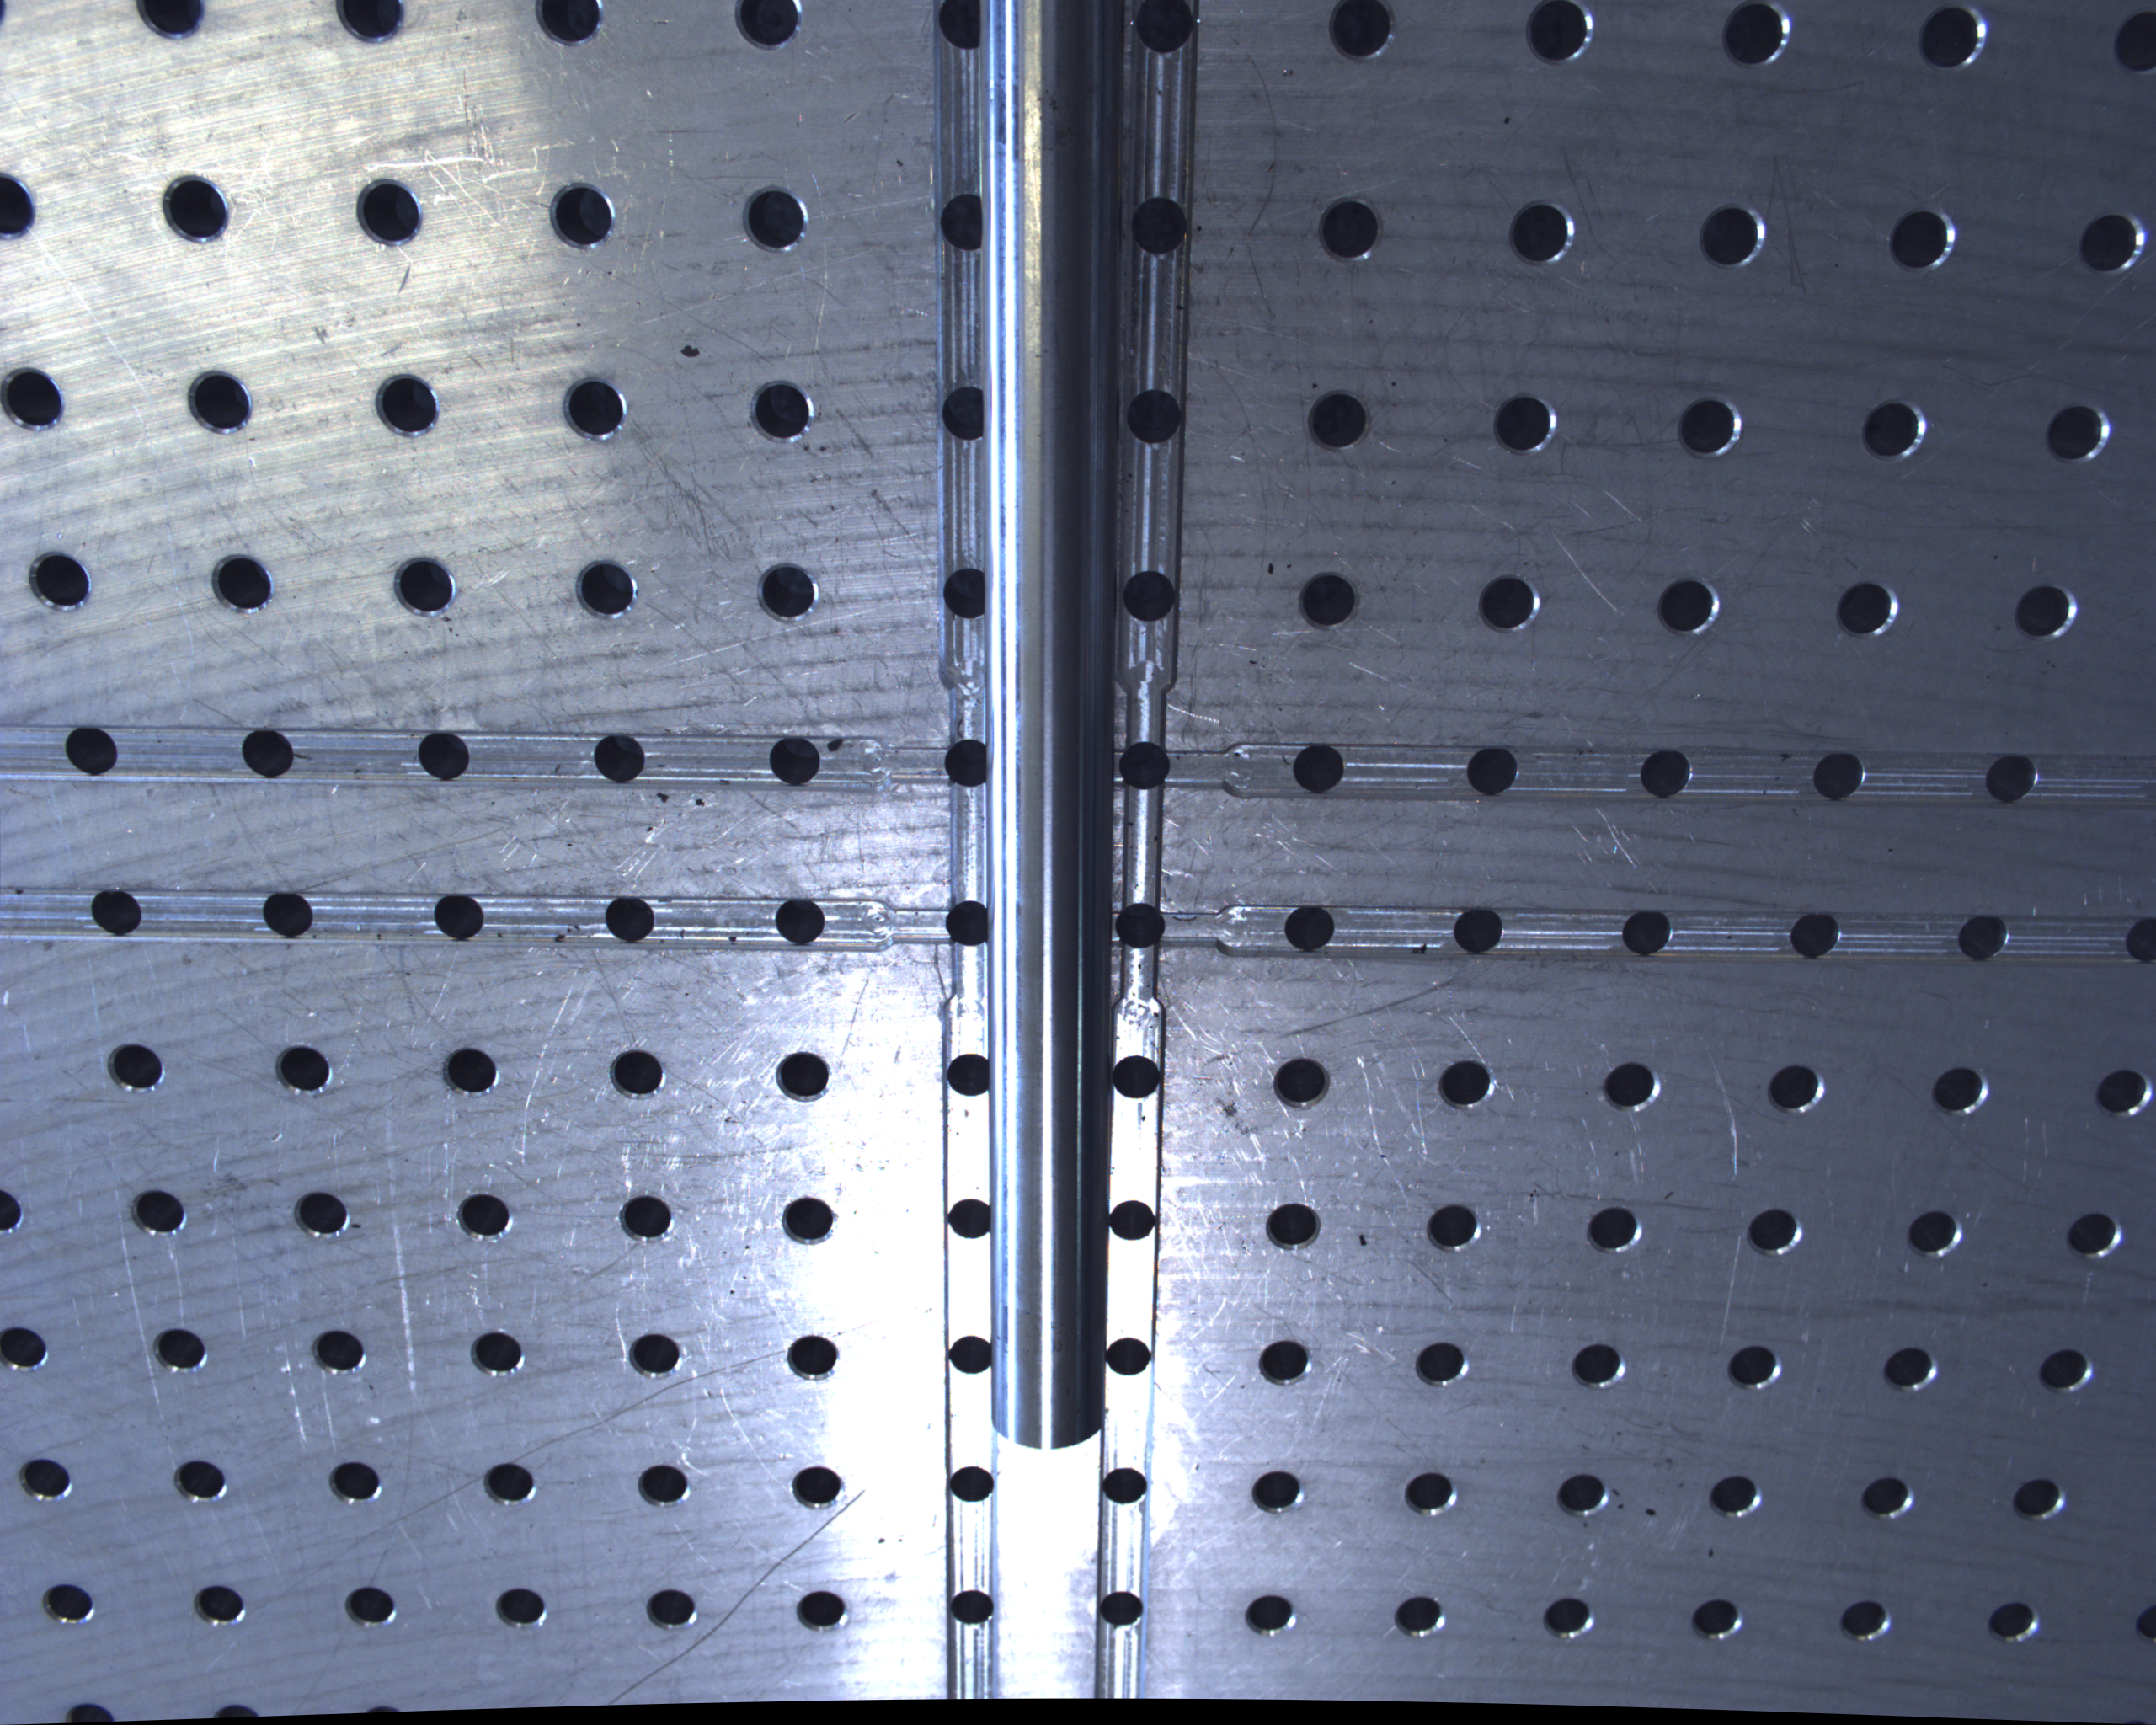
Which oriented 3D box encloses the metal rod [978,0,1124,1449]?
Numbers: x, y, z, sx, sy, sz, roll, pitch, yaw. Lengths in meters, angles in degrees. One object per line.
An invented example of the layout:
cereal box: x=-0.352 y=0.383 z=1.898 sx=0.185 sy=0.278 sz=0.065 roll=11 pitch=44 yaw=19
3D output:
metal rod: x=-0.006 y=-0.019 z=0.407 sx=0.025 sy=0.025 sz=0.298 roll=0 pitch=110 yaw=0
